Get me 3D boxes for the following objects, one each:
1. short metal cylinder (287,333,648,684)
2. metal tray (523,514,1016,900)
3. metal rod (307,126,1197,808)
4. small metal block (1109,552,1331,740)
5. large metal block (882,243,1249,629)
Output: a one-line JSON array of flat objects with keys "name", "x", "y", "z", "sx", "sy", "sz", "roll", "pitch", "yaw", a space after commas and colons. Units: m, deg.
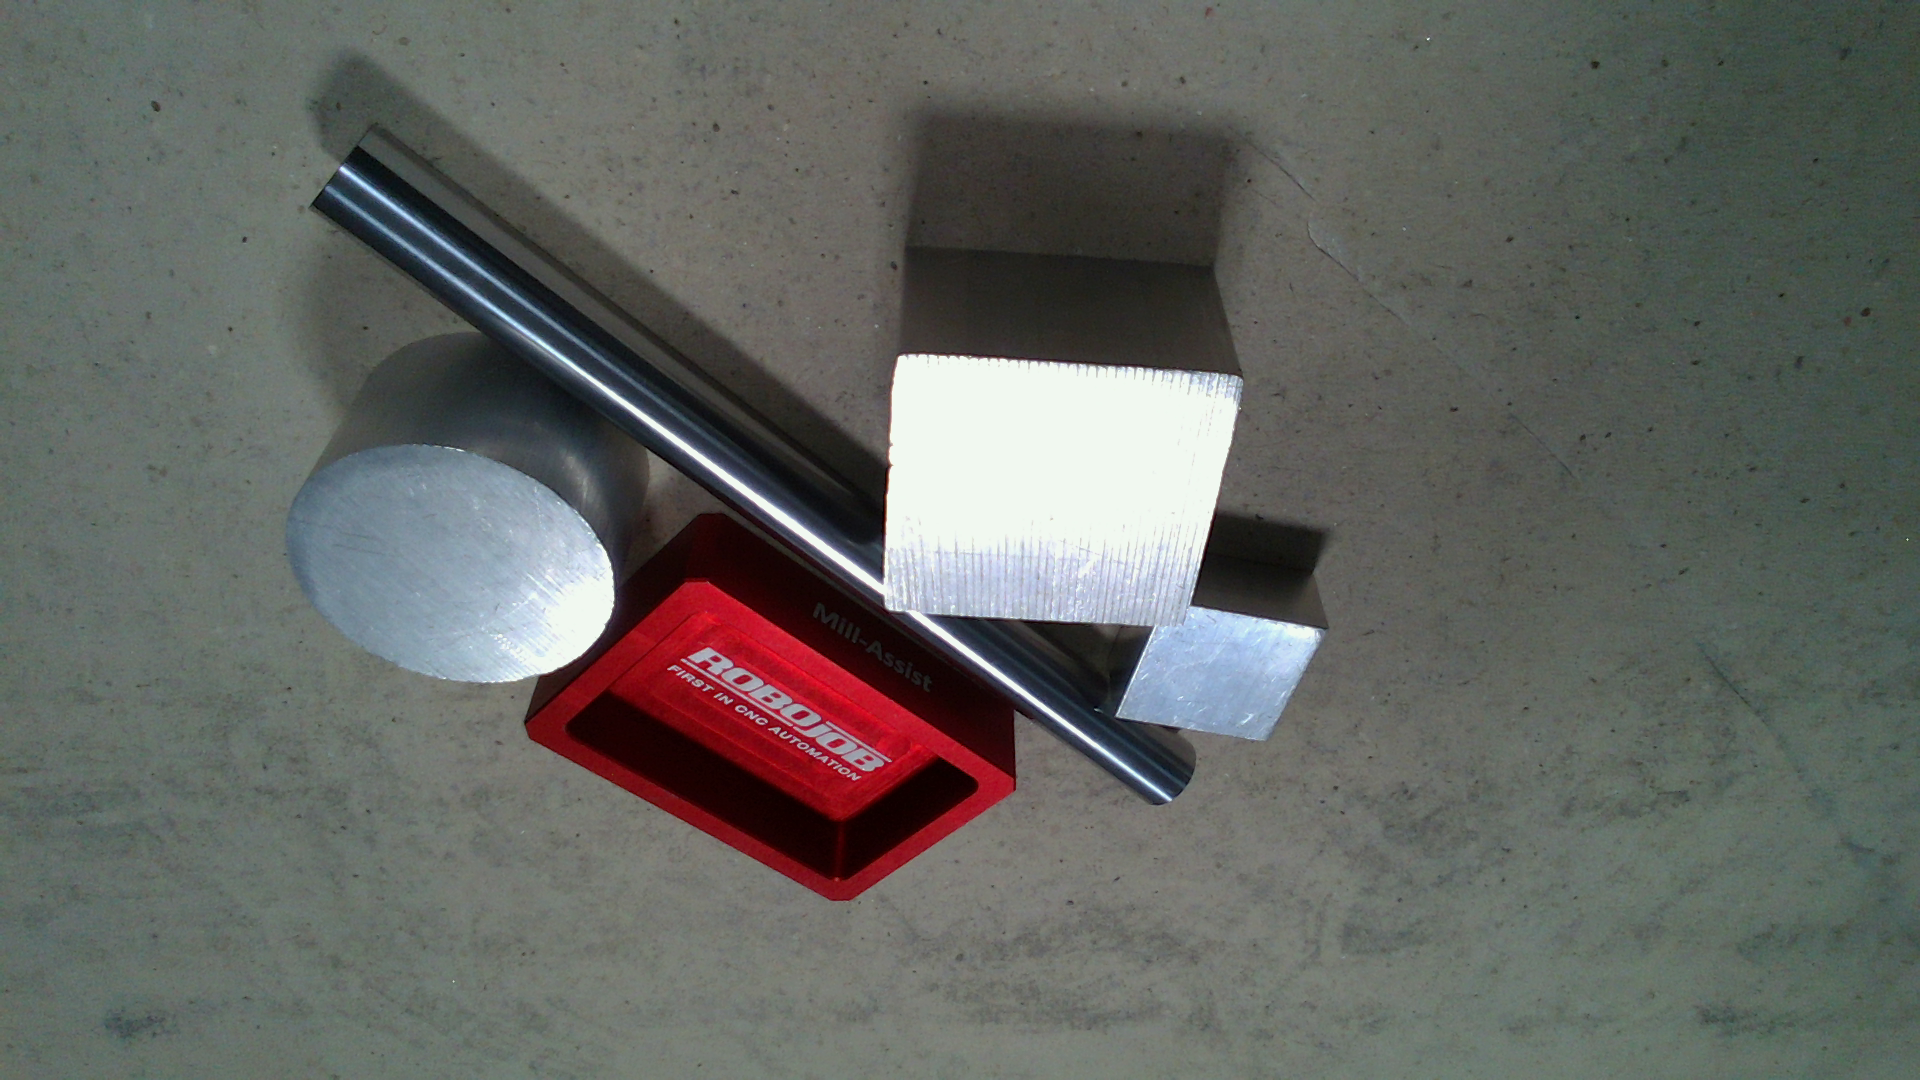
[{"name": "short metal cylinder", "x": -0.128, "y": -0.008, "z": 0.367, "sx": 0.080, "sy": 0.050, "sz": 0.080, "roll": 0, "pitch": 130, "yaw": 0}, {"name": "metal tray", "x": -0.057, "y": 0.058, "z": 0.436, "sx": 0.130, "sy": 0.030, "sz": 0.090, "roll": 36, "pitch": 121, "yaw": -27}, {"name": "metal rod", "x": -0.037, "y": -0.004, "z": 0.386, "sx": 0.025, "sy": 0.025, "sz": 0.301, "roll": -37, "pitch": 121, "yaw": 27}, {"name": "small metal block", "x": 0.077, "y": 0.031, "z": 0.418, "sx": 0.050, "sy": 0.025, "sz": 0.050, "roll": 10, "pitch": 129, "yaw": -8}, {"name": "large metal block", "x": 0.022, "y": -0.025, "z": 0.353, "sx": 0.080, "sy": 0.050, "sz": 0.080, "roll": 3, "pitch": 130, "yaw": -3}]
